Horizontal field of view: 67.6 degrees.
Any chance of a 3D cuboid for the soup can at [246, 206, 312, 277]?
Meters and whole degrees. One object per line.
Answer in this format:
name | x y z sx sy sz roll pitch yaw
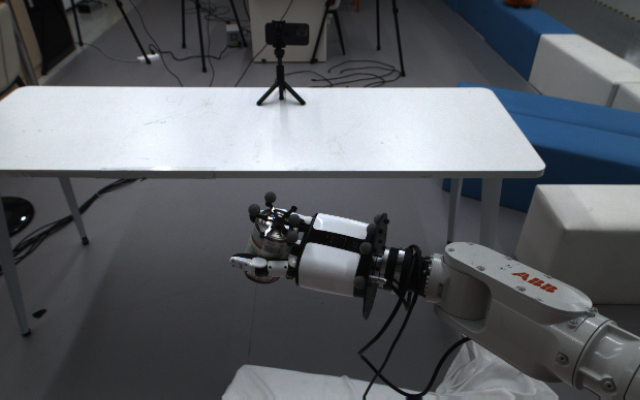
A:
soup can | -0.077 0.073 0.741 0.067 0.101 0.067 14 39 -12
